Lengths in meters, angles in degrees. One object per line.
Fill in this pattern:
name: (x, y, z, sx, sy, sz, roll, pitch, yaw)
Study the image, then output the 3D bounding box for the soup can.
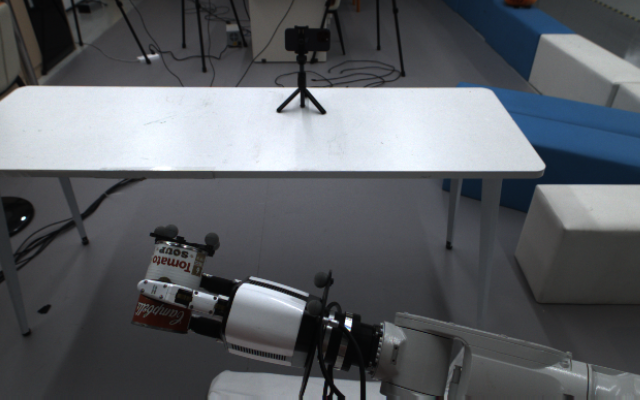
soup can: (-0.182, 0.110, 0.596, 0.067, 0.067, 0.101, 9, 74, 9)
